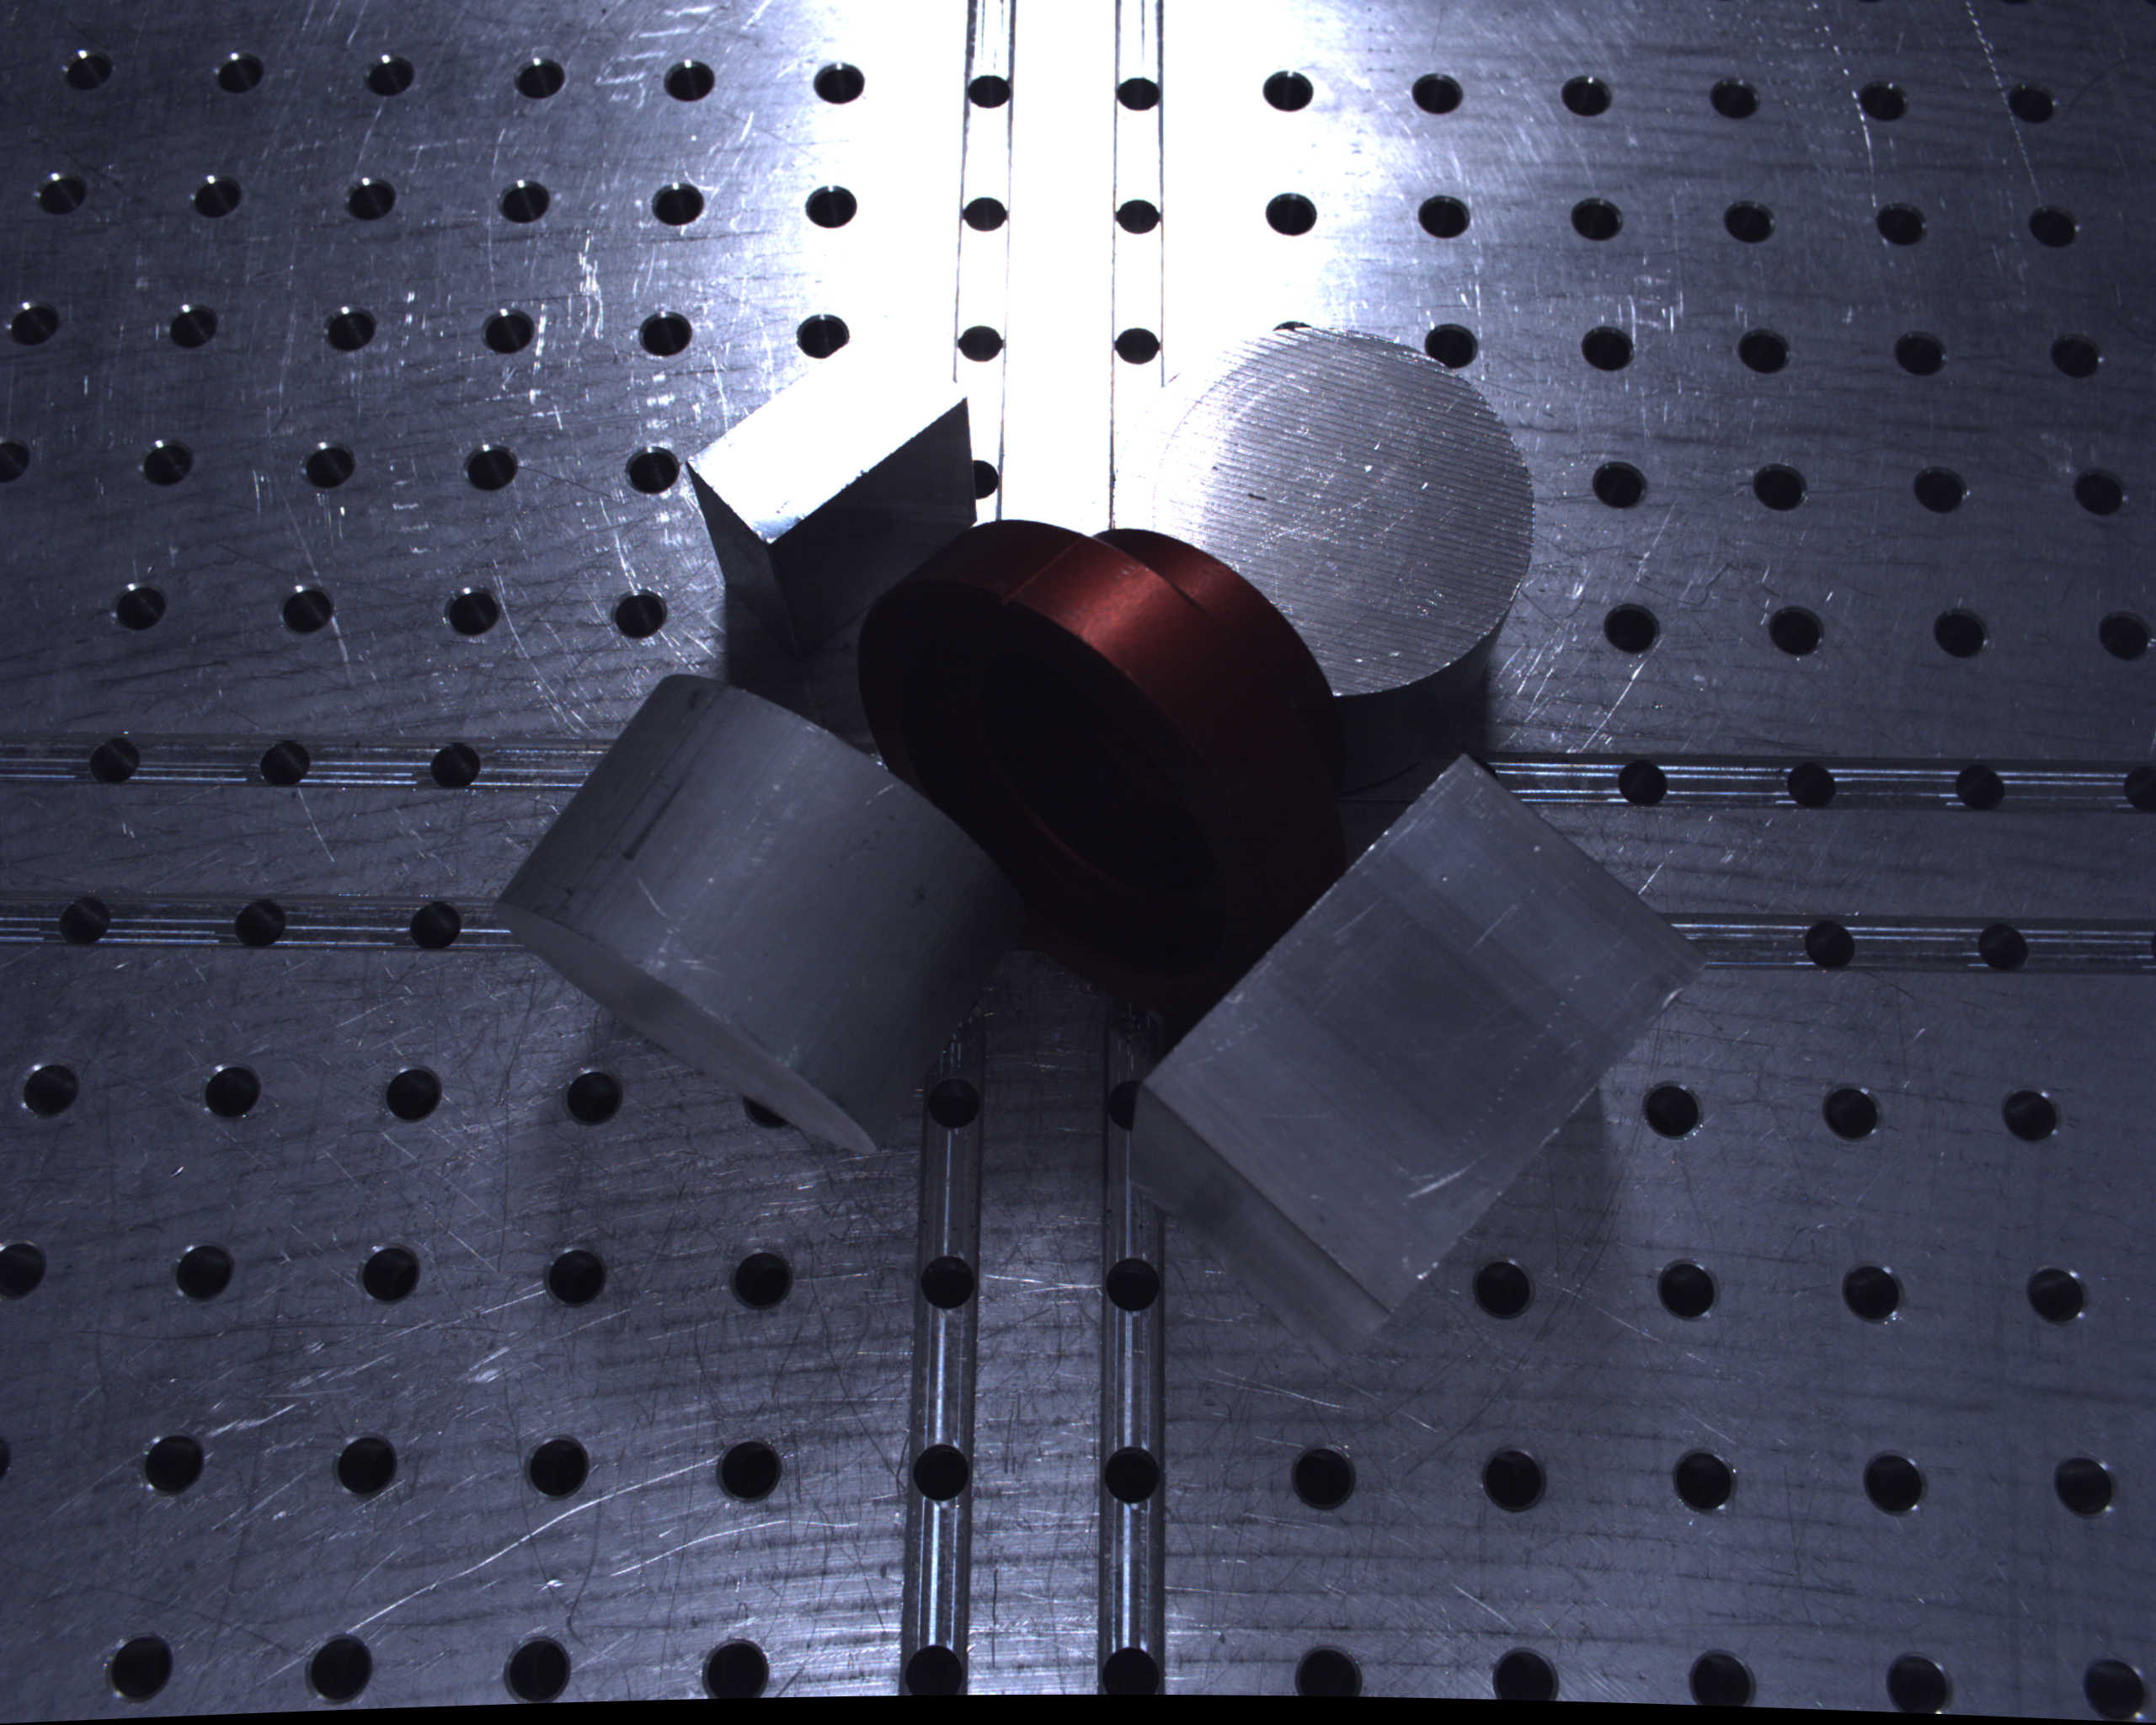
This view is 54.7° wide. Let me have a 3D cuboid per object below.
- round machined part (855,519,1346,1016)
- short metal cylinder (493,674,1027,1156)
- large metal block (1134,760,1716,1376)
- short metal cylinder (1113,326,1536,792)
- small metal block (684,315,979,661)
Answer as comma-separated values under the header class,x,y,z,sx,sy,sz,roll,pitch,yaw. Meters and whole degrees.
class,x,y,z,sx,sy,sz,roll,pitch,yaw
round machined part,0.009,-0.022,0.381,0.098,0.098,0.042,39,62,12
short metal cylinder,-0.057,0.010,0.378,0.080,0.080,0.050,29,73,10
large metal block,0.057,0.040,0.369,0.050,0.080,0.080,42,75,13
short metal cylinder,0.047,-0.060,0.420,0.081,0.050,0.080,0,70,0
small metal block,-0.048,-0.075,0.425,0.050,0.050,0.025,-40,75,-13
